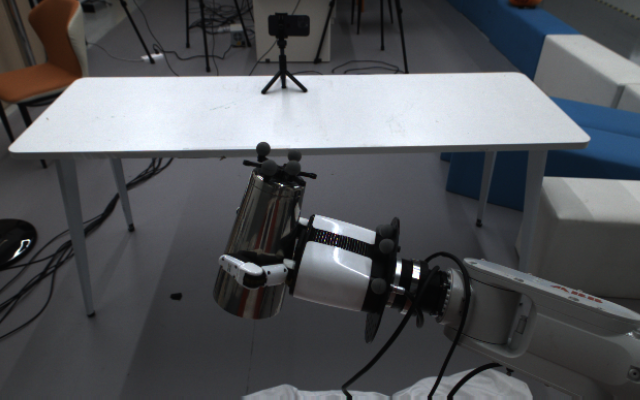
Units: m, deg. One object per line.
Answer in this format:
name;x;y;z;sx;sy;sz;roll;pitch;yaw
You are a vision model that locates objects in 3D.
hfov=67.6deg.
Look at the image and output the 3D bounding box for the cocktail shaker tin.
cocktail shaker tin;-0.069;0.049;0.597;0.093;0.170;0.093;15;20;-5
